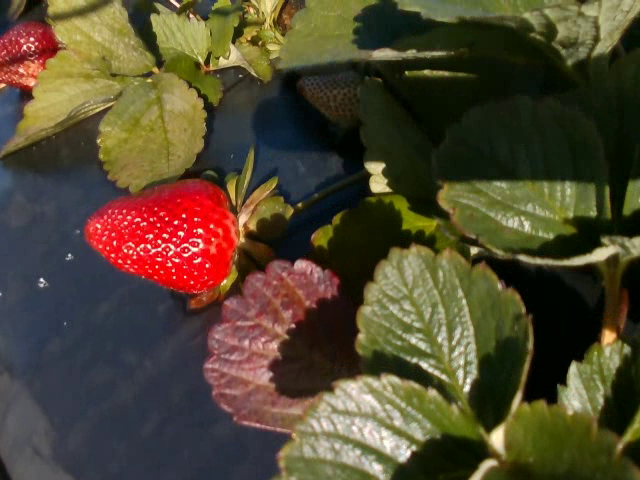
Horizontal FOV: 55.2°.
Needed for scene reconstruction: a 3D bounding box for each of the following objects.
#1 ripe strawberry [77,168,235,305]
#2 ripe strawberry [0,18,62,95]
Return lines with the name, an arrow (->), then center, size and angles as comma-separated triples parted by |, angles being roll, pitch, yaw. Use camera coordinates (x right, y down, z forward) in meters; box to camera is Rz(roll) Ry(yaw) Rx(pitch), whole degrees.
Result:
ripe strawberry -> -0.052, -0.001, 0.196 | 0.050, 0.043, 0.043 | 4, -35, -22
ripe strawberry -> -0.166, -0.100, 0.338 | 0.053, 0.043, 0.042 | -12, 45, -30
